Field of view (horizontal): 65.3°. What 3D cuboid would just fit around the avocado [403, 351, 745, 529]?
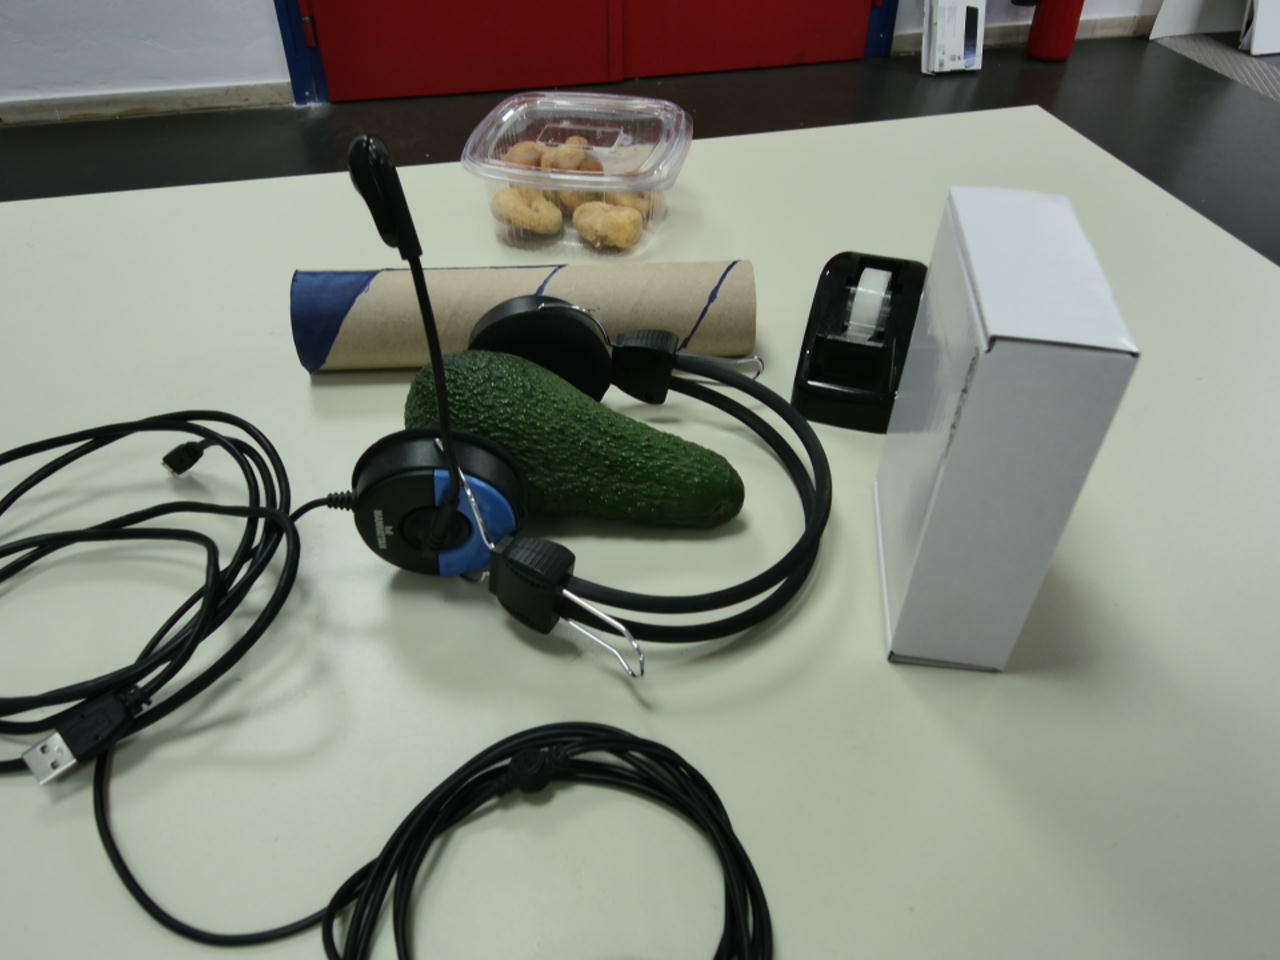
[{"bbox_3d":[-0.027,-0.020,0.410,0.141,0.067,0.063,1,38,1],"label":"avocado"}]
